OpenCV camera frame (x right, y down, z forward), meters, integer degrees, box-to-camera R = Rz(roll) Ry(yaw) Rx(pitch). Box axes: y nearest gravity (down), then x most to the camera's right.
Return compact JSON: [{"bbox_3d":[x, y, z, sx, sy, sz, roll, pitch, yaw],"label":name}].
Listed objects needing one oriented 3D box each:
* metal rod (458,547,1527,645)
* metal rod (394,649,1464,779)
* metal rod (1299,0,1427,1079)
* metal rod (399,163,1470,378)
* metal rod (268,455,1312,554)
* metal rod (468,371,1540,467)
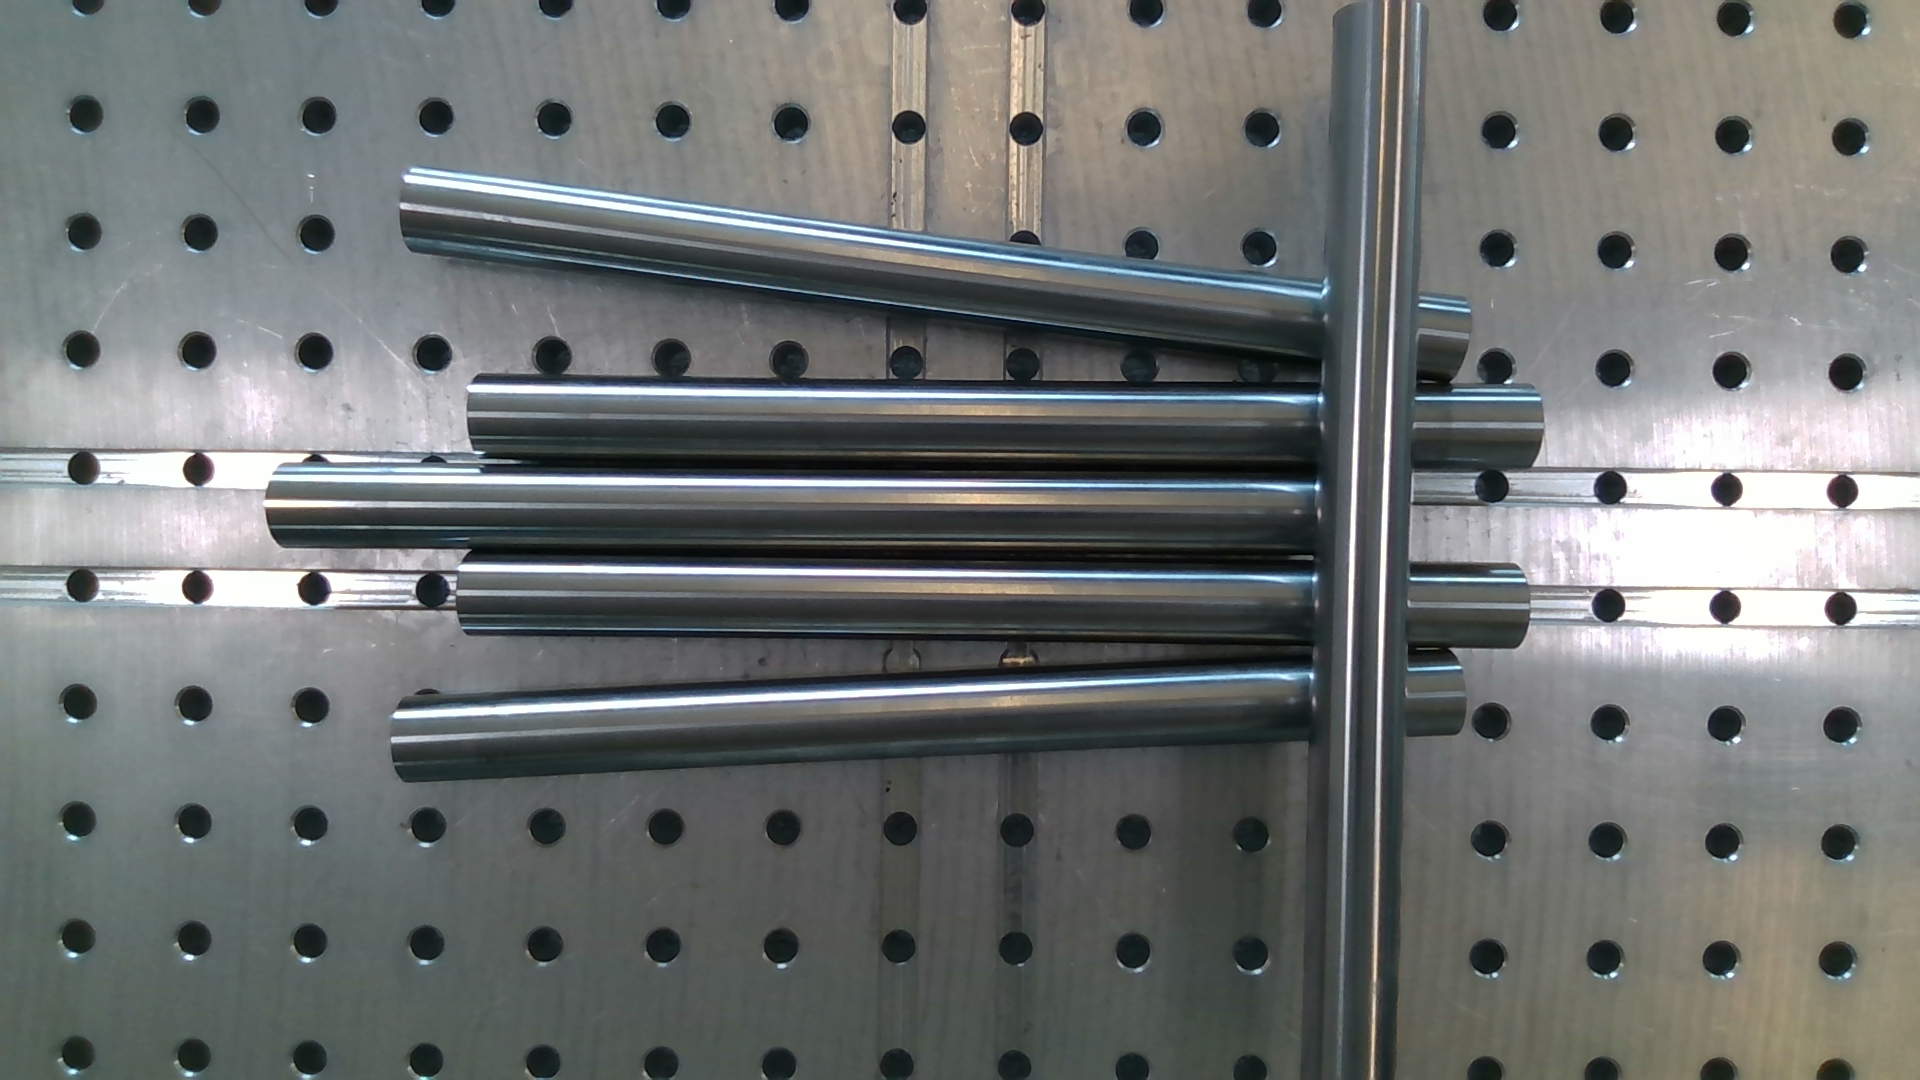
[{"bbox_3d":[0.009,0.016,0.399,0.300,0.025,0.025,1,90,0],"label":"metal rod"},{"bbox_3d":[-0.009,0.050,0.398,0.300,0.025,0.025,-2,90,0],"label":"metal rod"},{"bbox_3d":[0.109,0.008,0.372,0.025,0.025,0.300,2,90,0],"label":"metal rod"},{"bbox_3d":[-0.007,-0.077,0.396,0.300,0.025,0.025,7,90,0],"label":"metal rod"},{"bbox_3d":[-0.044,-0.010,0.397,0.300,0.025,0.025,1,90,0],"label":"metal rod"},{"bbox_3d":[0.012,-0.035,0.398,0.300,0.025,0.025,1,90,0],"label":"metal rod"}]
